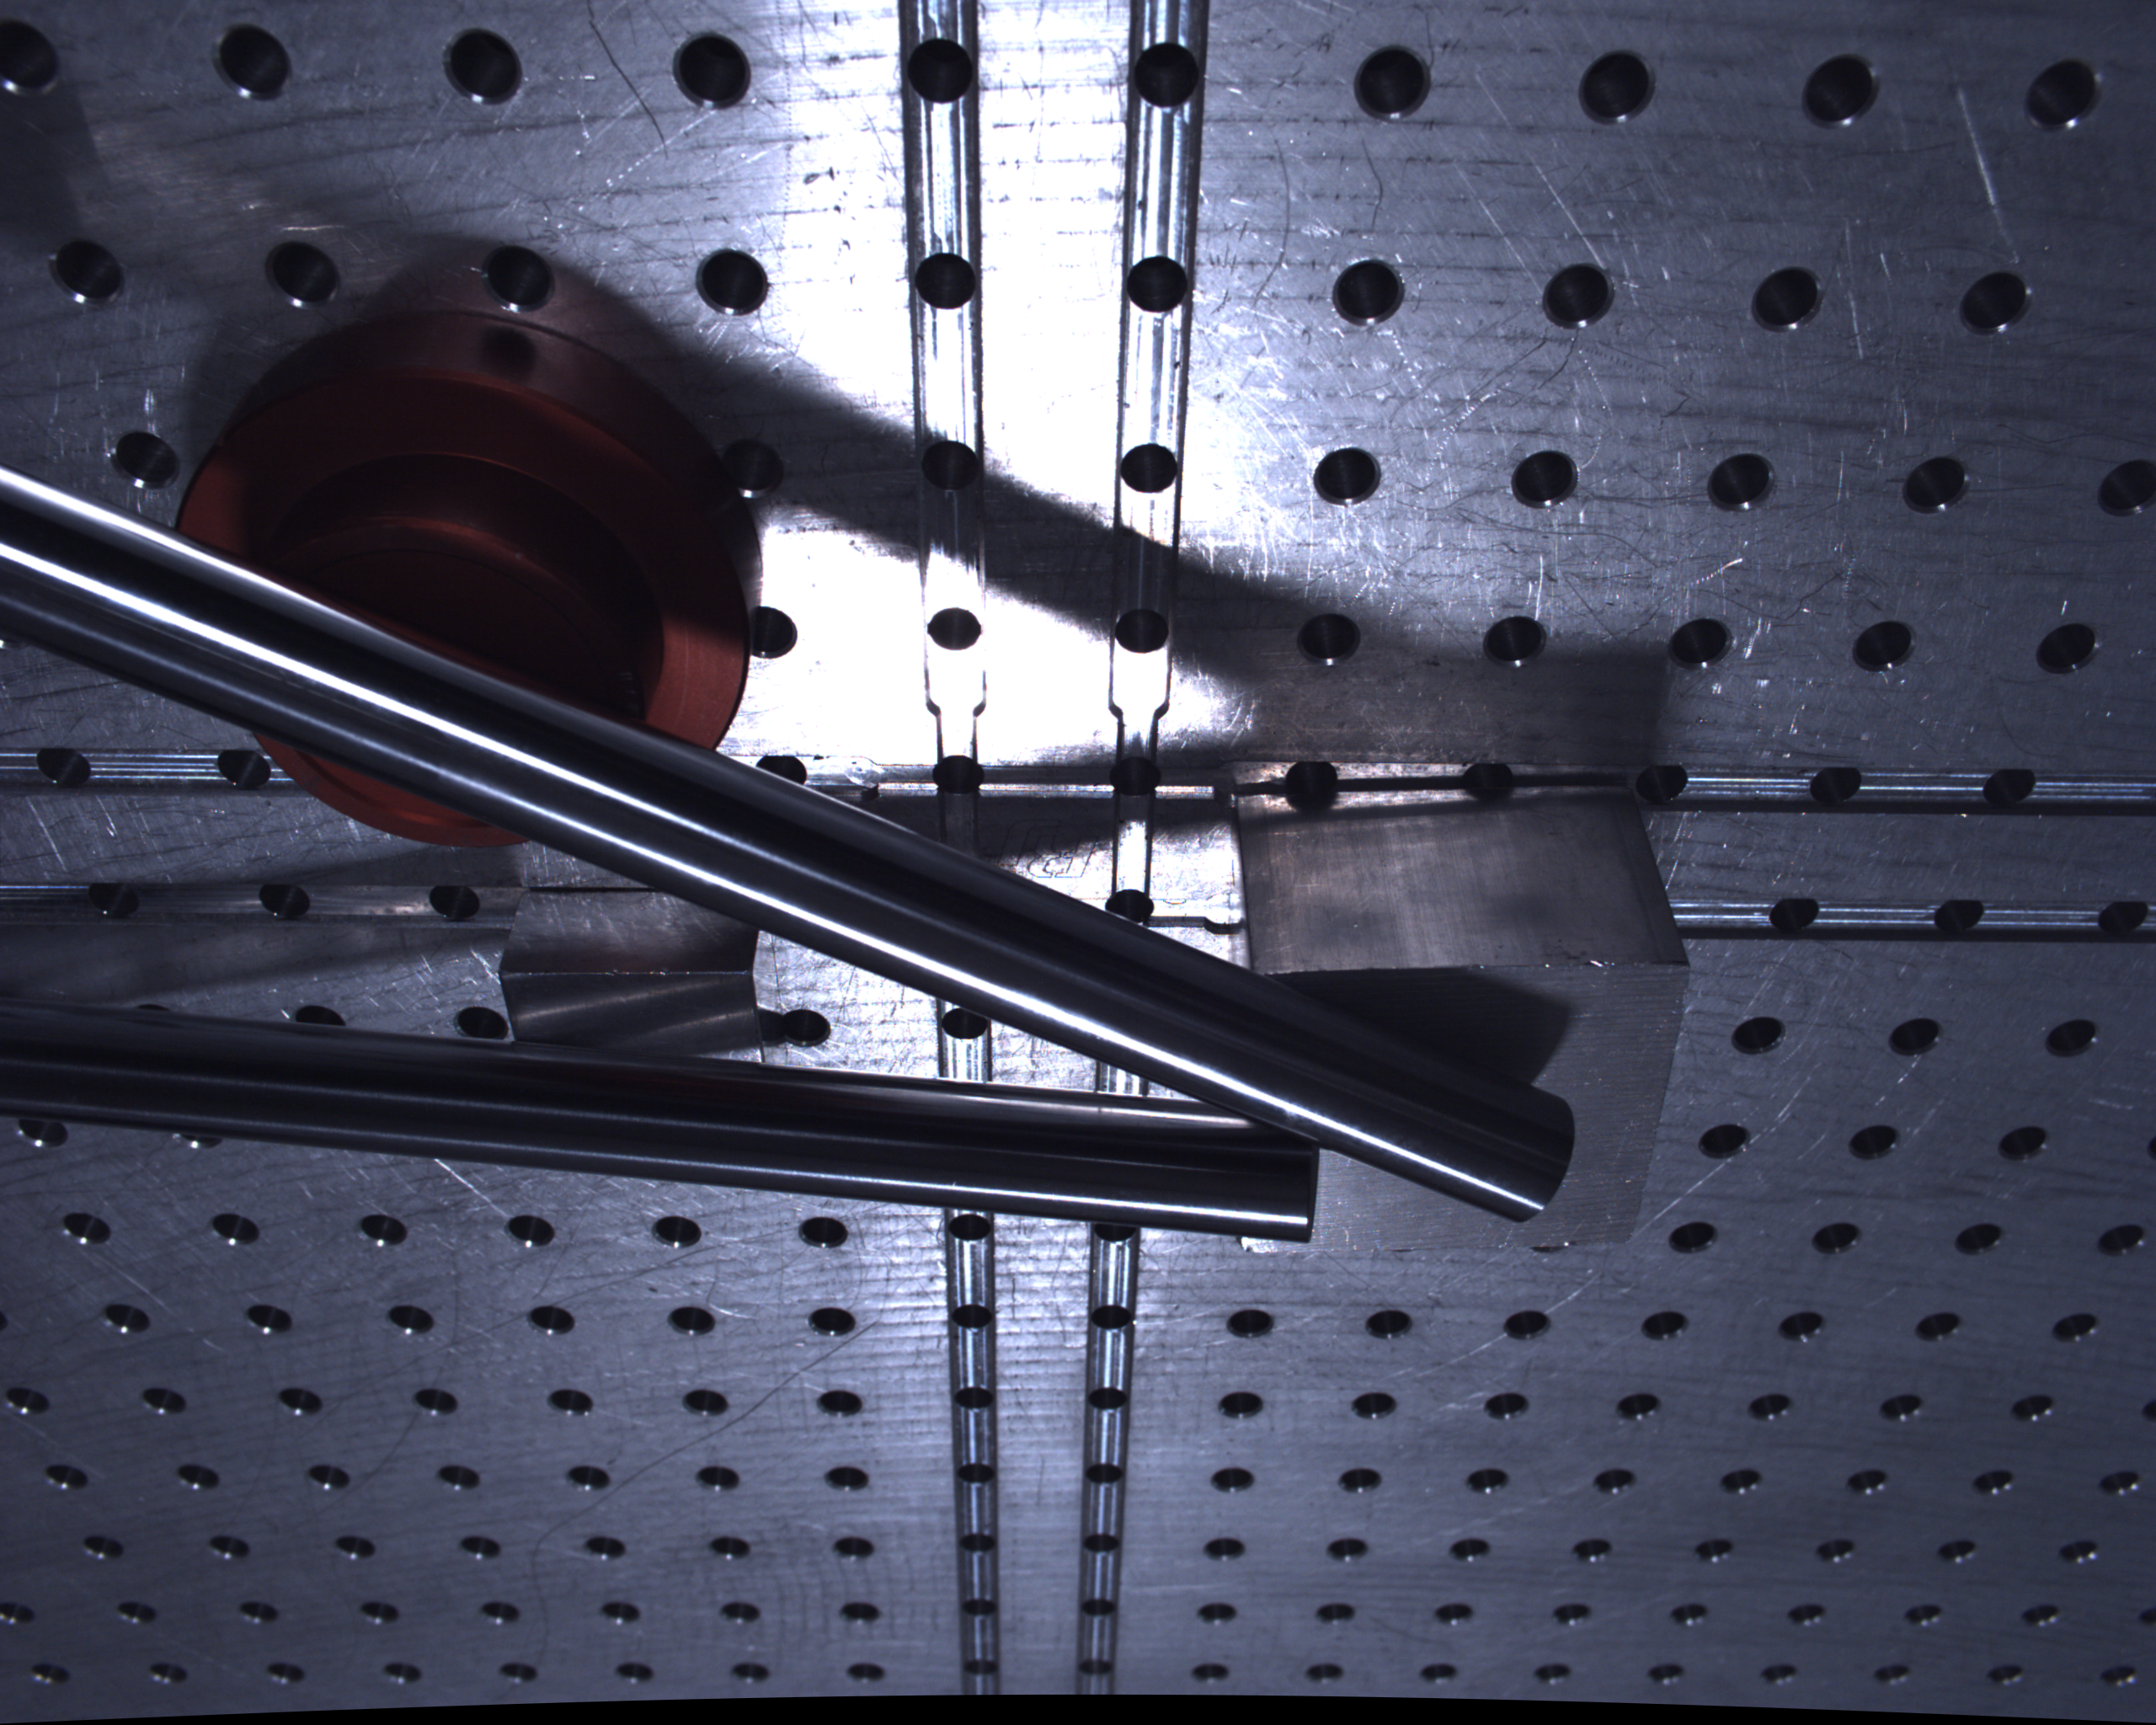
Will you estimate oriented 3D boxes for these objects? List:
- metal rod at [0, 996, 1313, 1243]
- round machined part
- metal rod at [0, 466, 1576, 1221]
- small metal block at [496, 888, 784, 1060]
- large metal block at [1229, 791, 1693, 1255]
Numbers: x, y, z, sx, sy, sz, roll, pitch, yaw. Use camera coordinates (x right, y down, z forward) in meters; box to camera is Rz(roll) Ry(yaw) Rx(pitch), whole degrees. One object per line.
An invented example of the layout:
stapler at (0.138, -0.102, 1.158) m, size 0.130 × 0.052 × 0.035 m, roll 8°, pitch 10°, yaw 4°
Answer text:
metal rod at (-0.105, 0.049, 0.415) m, size 0.301 × 0.025 × 0.025 m, roll 4°, pitch 131°, yaw 10°
round machined part at (-0.107, -0.041, 0.363) m, size 0.099 × 0.042 × 0.097 m, roll -1°, pitch 130°, yaw 0°
metal rod at (-0.050, -0.001, 0.347) m, size 0.302 × 0.025 × 0.025 m, roll 22°, pitch 127°, yaw -15°
small metal block at (-0.090, 0.032, 0.438) m, size 0.050 × 0.025 × 0.050 m, roll 0°, pitch 130°, yaw 0°
large metal block at (0.072, 0.033, 0.421) m, size 0.081 × 0.050 × 0.079 m, roll -2°, pitch 130°, yaw 1°
